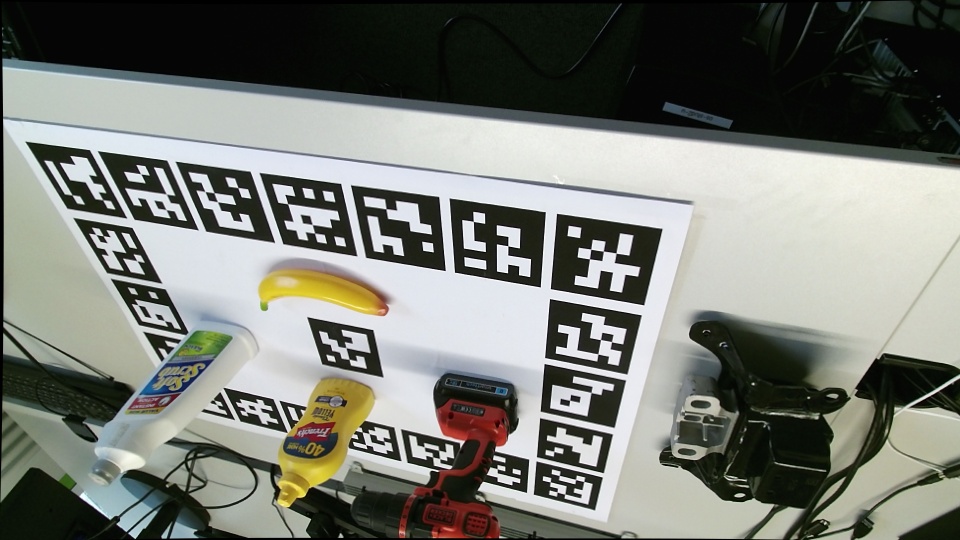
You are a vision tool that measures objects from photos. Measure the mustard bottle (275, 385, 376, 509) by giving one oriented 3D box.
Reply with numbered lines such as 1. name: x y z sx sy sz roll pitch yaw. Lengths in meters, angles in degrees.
1. mustard bottle: -0.235 0.256 0.778 0.096 0.191 0.058 3 127 20

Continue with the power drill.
1. power drill: -0.062 0.264 0.682 0.185 0.186 0.057 2 126 14

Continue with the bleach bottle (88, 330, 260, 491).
1. bleach bottle: -0.430 0.196 0.758 0.103 0.250 0.068 15 130 9

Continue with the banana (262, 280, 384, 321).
1. banana: -0.219 0.048 0.697 0.198 0.039 0.074 3 125 14
